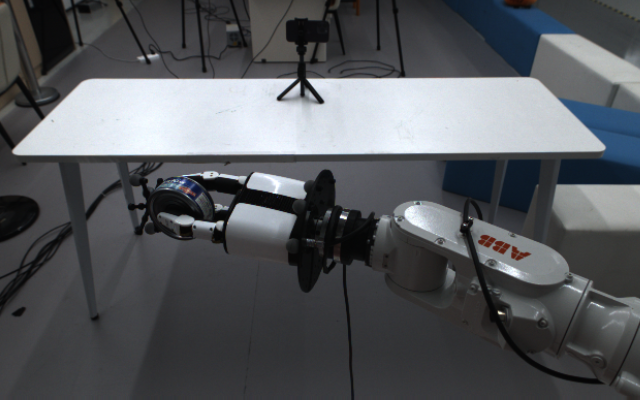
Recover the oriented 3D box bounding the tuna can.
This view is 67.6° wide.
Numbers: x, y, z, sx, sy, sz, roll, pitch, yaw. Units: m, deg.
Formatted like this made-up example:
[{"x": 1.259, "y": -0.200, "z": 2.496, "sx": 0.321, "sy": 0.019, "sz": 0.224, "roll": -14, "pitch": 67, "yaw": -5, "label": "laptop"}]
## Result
[{"x": -0.186, "y": 0.015, "z": 0.653, "sx": 0.085, "sy": 0.085, "sz": 0.034, "roll": 9, "pitch": 34, "yaw": 10, "label": "tuna can"}]
